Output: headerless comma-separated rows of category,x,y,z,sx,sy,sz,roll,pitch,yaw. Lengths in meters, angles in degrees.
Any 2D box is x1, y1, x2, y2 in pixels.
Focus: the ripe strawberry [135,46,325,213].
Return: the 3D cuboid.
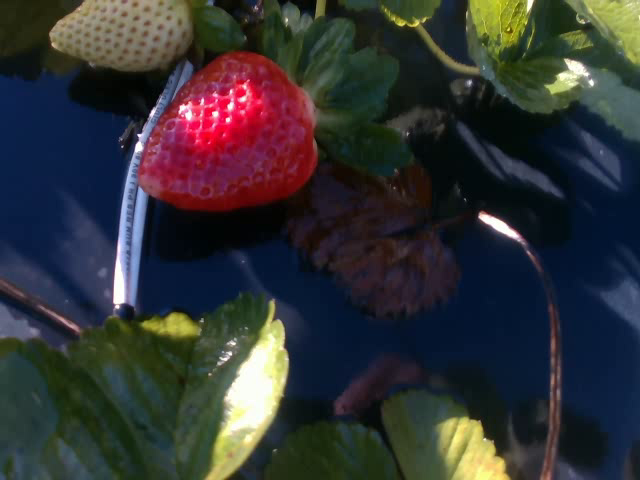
ripe strawberry,-0.023,-0.032,0.192,0.040,0.063,0.080,-4,25,47
